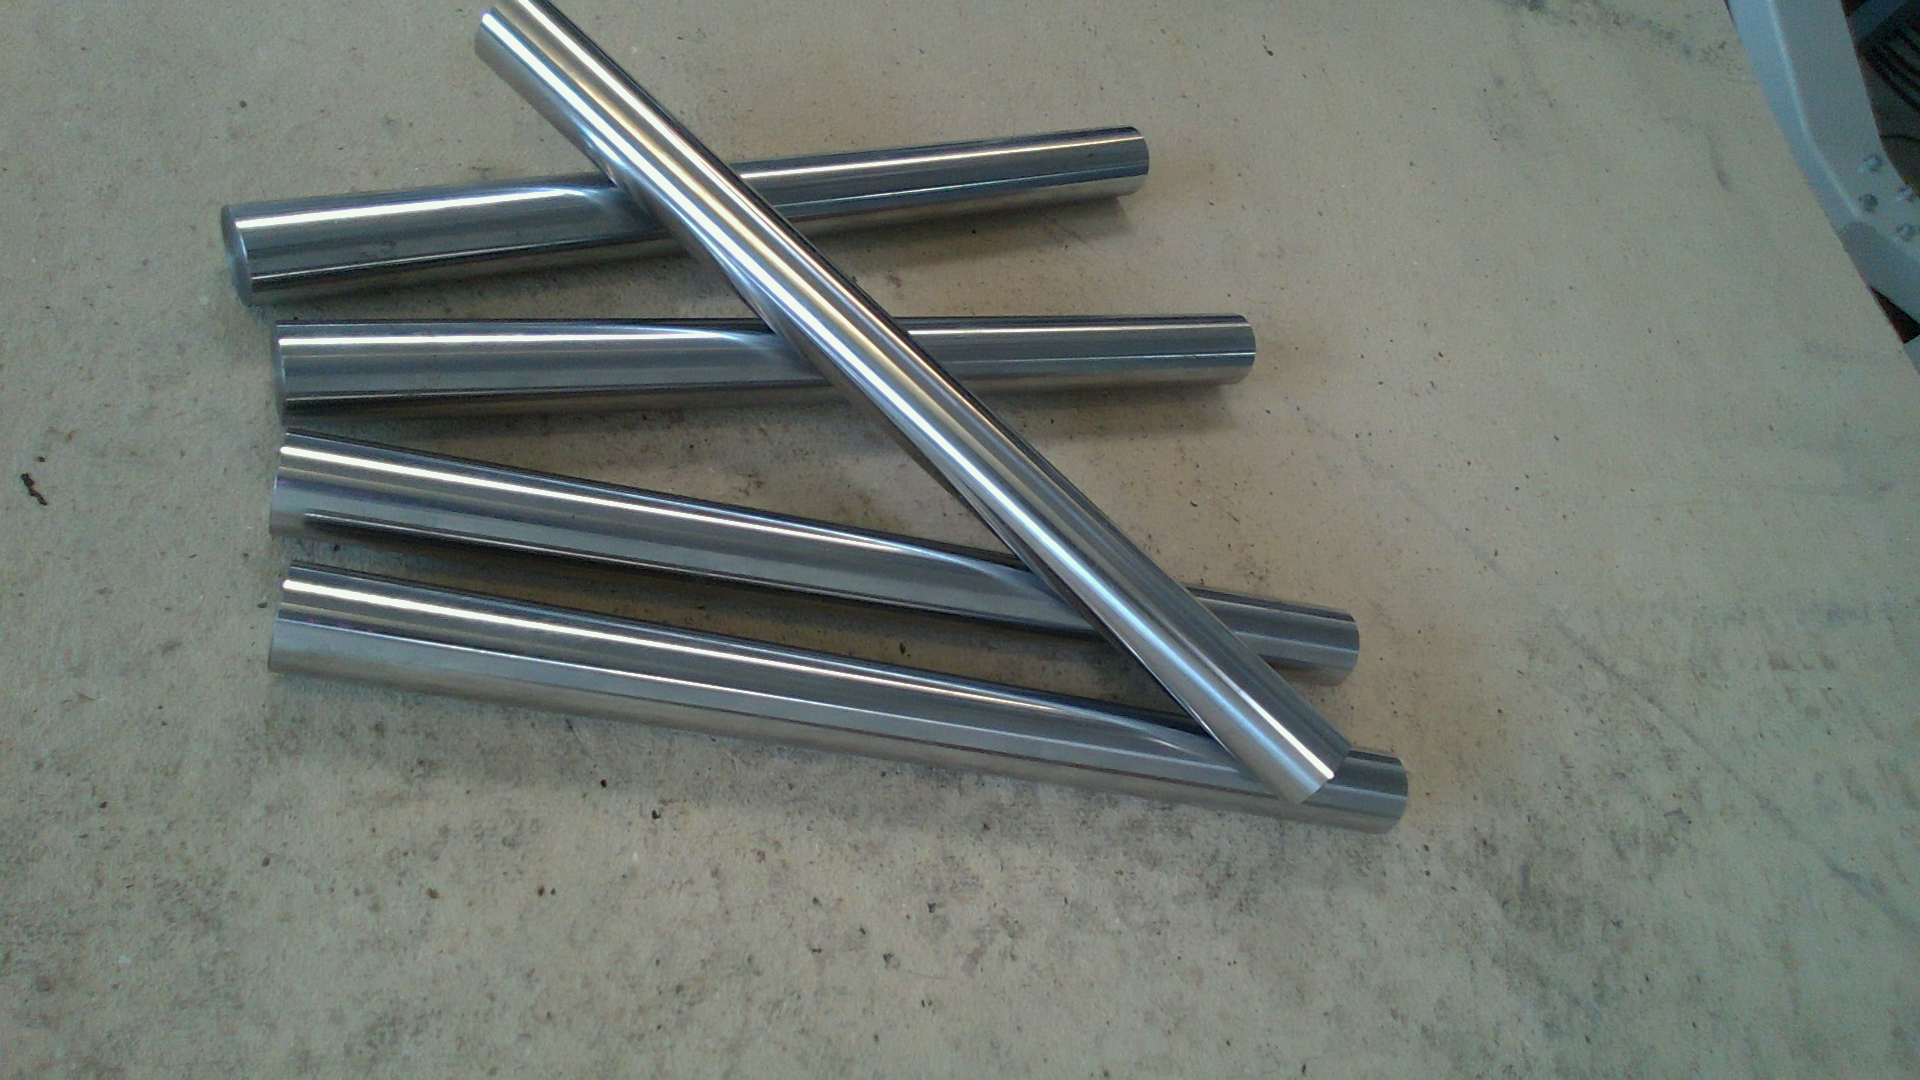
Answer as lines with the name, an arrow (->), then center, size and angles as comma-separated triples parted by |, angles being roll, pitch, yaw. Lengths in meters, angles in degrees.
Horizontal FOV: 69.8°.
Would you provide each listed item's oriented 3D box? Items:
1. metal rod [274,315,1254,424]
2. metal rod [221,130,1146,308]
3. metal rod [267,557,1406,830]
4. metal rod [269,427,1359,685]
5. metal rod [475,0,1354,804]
metal rod -> -0.034, -0.053, 0.405 | 0.301, 0.025, 0.025 | -6, 65, -31
metal rod -> -0.059, -0.104, 0.423 | 0.301, 0.025, 0.025 | -16, 70, -35
metal rod -> -0.012, 0.045, 0.356 | 0.301, 0.025, 0.025 | 12, 56, -22
metal rod -> -0.019, 0.010, 0.373 | 0.301, 0.025, 0.025 | 10, 57, -23
metal rod -> -0.013, -0.040, 0.374 | 0.300, 0.025, 0.025 | 43, 51, 1
